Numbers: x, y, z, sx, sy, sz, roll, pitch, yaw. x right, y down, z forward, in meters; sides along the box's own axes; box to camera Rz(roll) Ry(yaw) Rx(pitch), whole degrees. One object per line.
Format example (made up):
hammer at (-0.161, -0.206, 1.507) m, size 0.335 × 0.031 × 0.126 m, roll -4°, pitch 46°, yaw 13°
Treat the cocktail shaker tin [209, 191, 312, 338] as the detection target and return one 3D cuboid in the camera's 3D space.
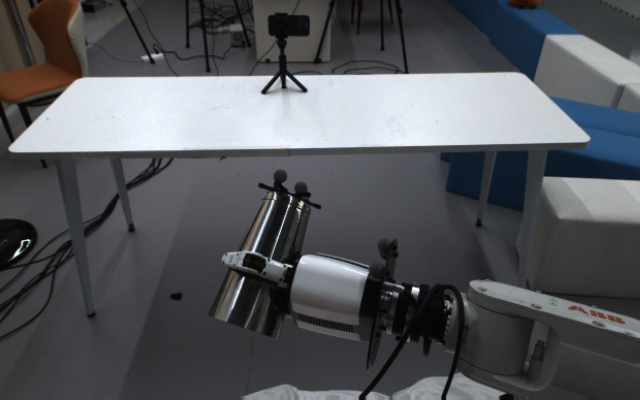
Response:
cocktail shaker tin at (-0.069, 0.081, 0.617) m, size 0.093 × 0.093 × 0.170 m, roll 14°, pitch 73°, yaw 17°
